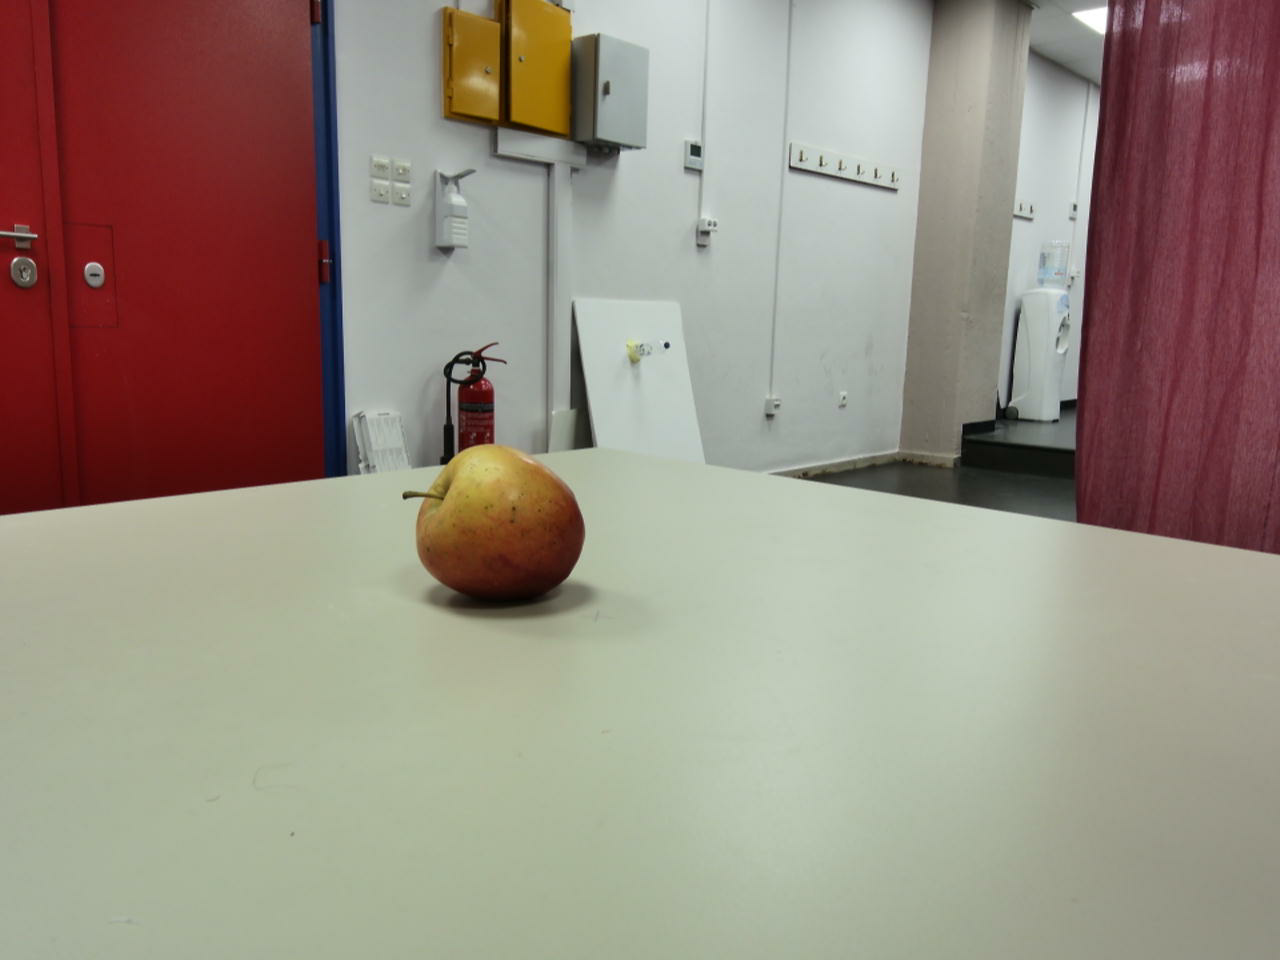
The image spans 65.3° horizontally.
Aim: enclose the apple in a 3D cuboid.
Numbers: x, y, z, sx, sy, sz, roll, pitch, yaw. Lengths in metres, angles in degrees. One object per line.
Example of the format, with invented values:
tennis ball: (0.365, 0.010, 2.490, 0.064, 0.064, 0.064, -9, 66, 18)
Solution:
apple: (-0.078, 0.023, 0.551, 0.093, 0.084, 0.086, 2, 8, 7)
